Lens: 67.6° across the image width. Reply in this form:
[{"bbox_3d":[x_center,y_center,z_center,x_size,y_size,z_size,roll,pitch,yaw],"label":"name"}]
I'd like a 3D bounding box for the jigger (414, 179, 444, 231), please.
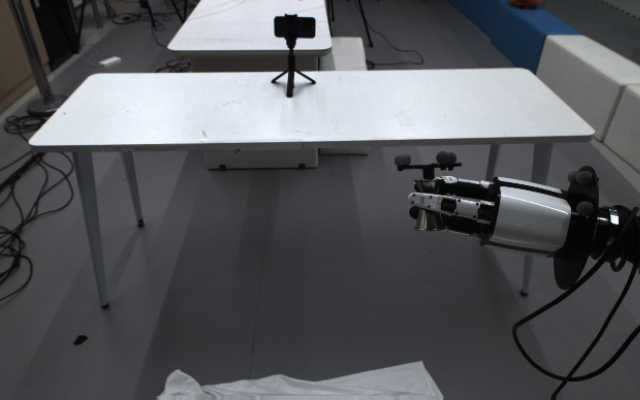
[{"bbox_3d":[0.147,0.005,0.655,0.043,0.071,0.043,-2,3,0],"label":"jigger"}]
